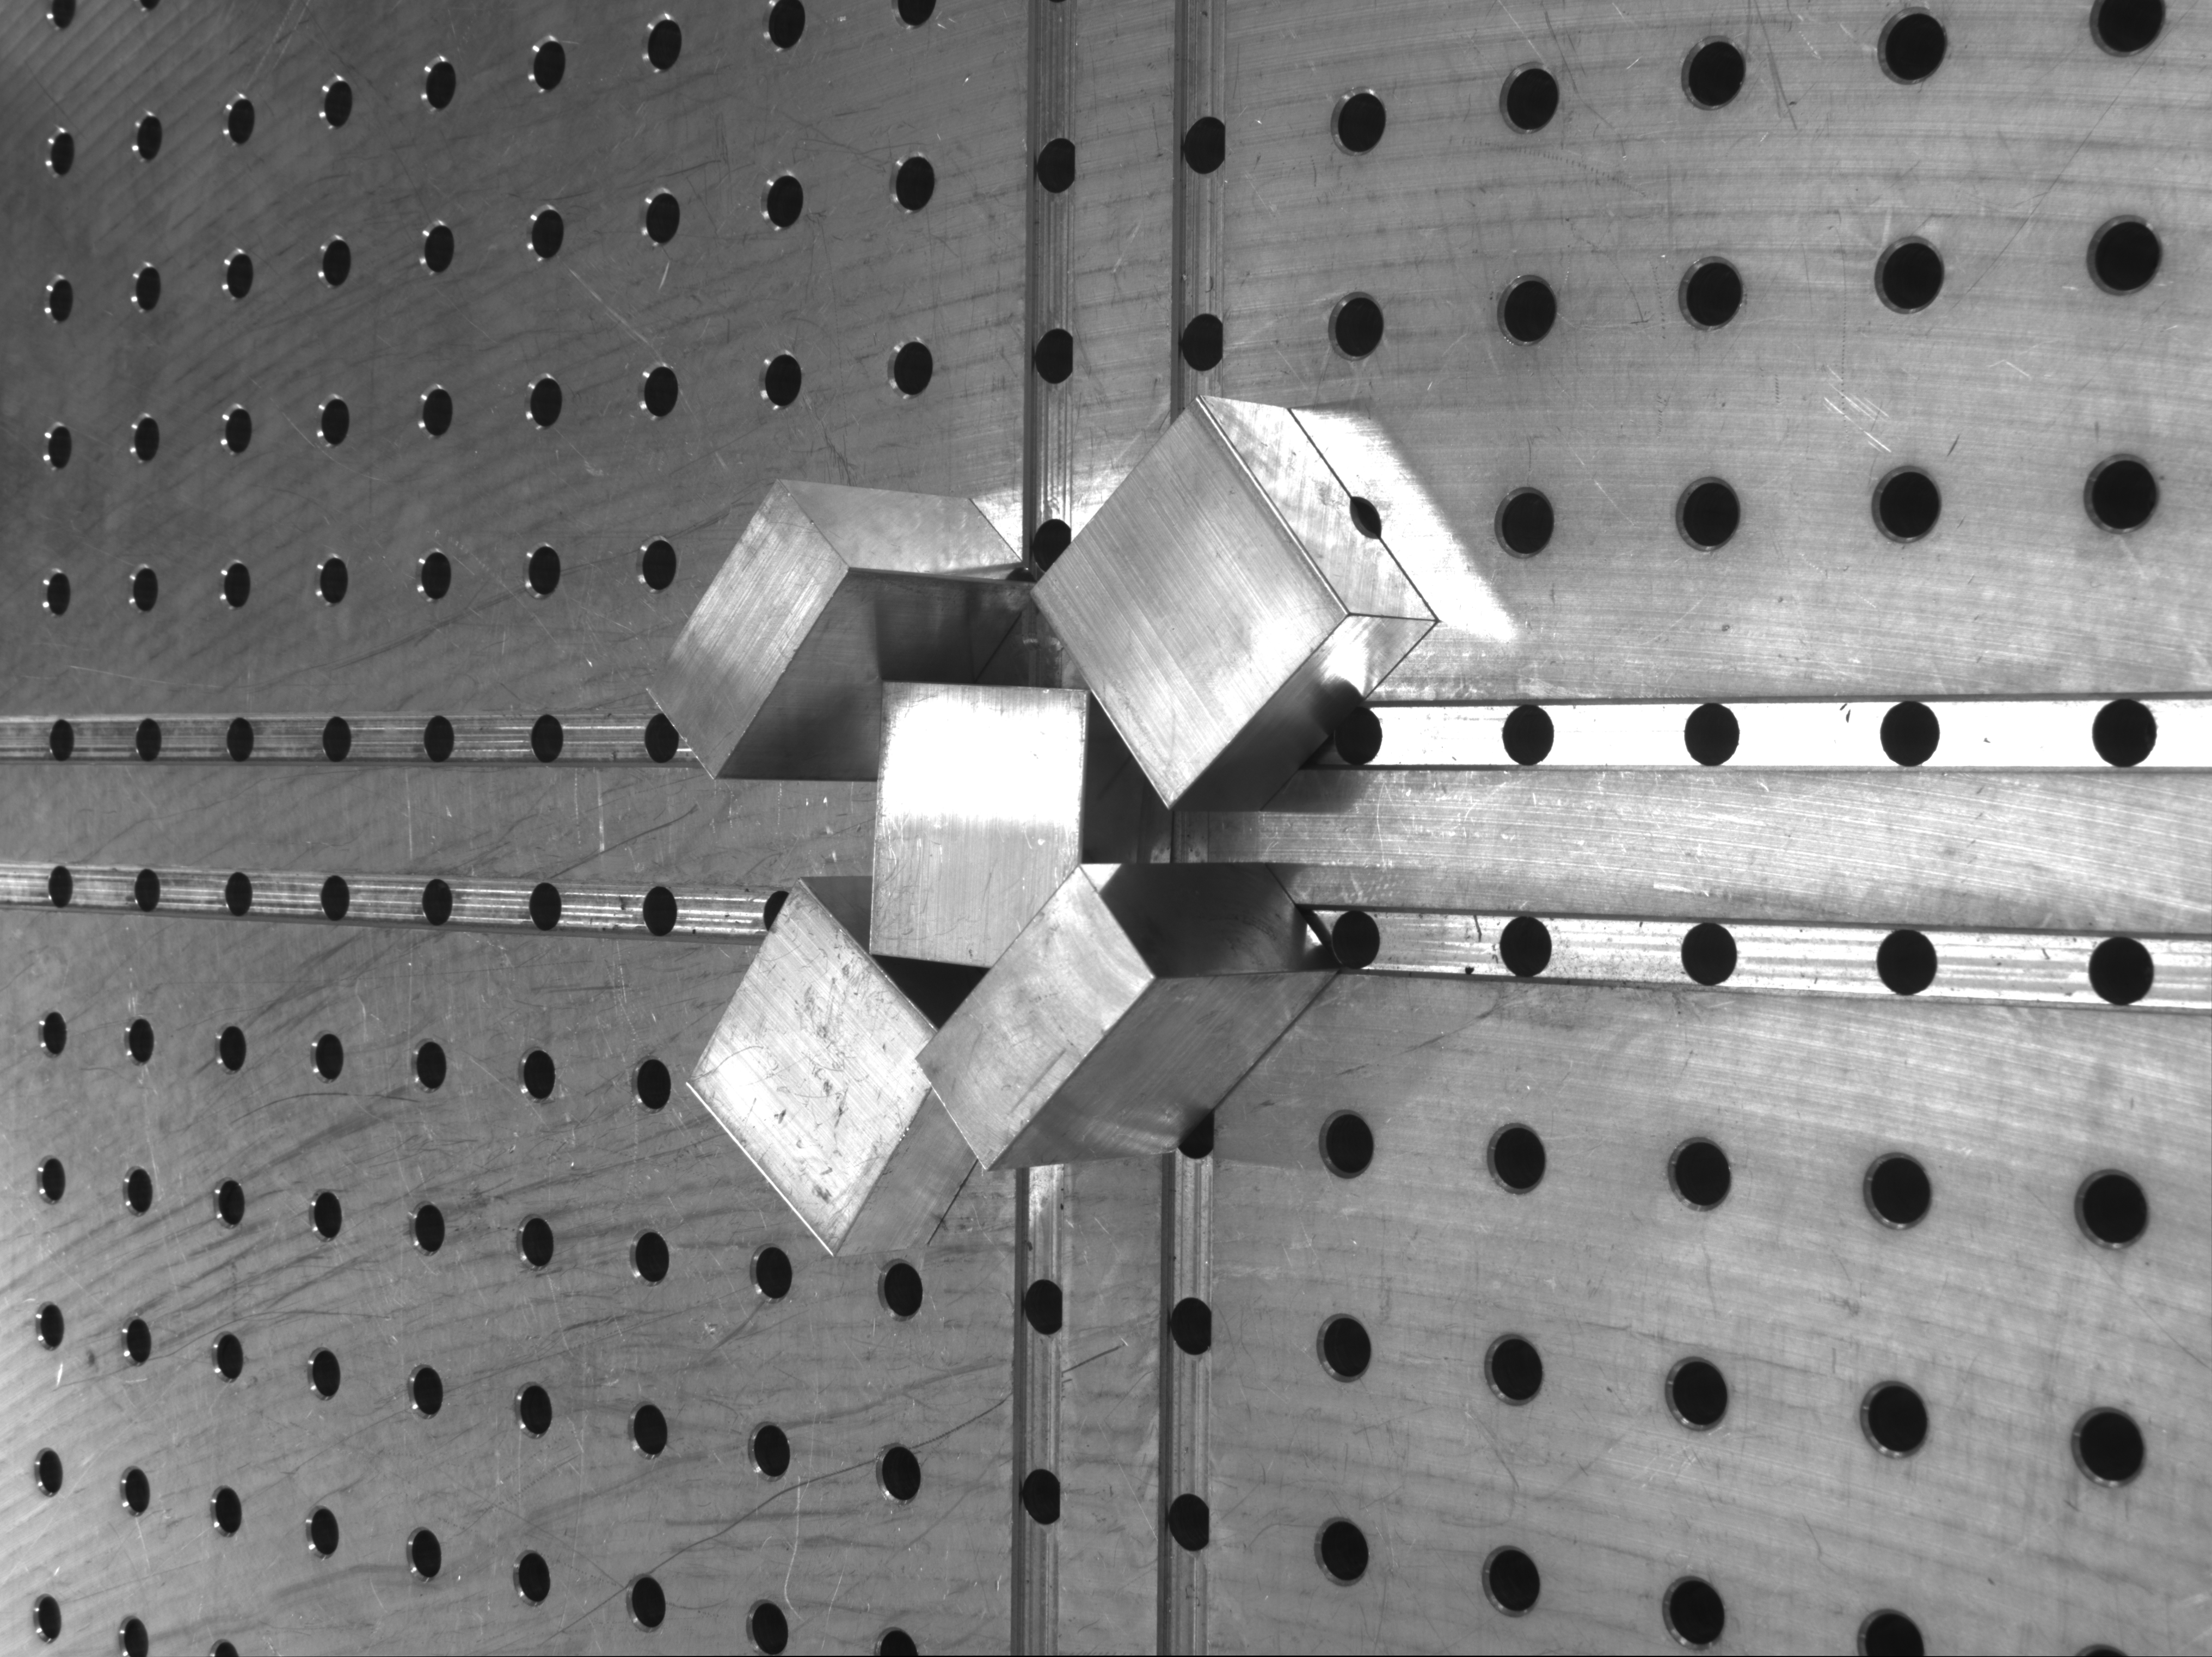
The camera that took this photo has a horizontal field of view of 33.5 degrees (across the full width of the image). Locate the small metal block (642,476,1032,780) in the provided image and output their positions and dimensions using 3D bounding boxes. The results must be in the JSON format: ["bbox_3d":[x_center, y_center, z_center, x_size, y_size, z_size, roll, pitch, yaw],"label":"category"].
[{"bbox_3d":[-0.049,-0.036,0.673,0.025,0.050,0.050,51,121,27],"label":"small metal block"}]

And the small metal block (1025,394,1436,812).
[{"bbox_3d":[0.021,-0.038,0.631,0.050,0.025,0.050,-48,61,30],"label":"small metal block"}]

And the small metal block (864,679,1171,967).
[{"bbox_3d":[-0.016,0.000,0.661,0.050,0.025,0.050,5,92,41],"label":"small metal block"}]

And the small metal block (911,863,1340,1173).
[{"bbox_3d":[0.003,0.032,0.629,0.050,0.050,0.025,-50,60,28],"label":"small metal block"}]

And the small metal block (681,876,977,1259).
[{"bbox_3d":[-0.046,0.044,0.687,0.050,0.025,0.050,45,117,30],"label":"small metal block"}]
